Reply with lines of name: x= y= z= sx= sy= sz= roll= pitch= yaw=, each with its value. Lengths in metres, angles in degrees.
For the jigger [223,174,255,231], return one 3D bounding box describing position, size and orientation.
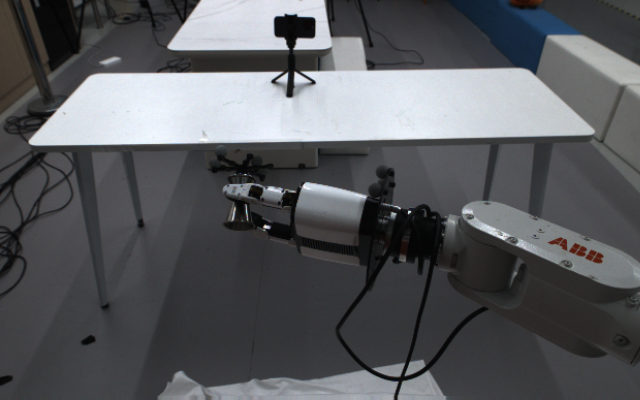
jigger: x=-0.108 y=0.002 z=0.655 sx=0.043 sy=0.043 sz=0.071 roll=1 pitch=71 yaw=-2
